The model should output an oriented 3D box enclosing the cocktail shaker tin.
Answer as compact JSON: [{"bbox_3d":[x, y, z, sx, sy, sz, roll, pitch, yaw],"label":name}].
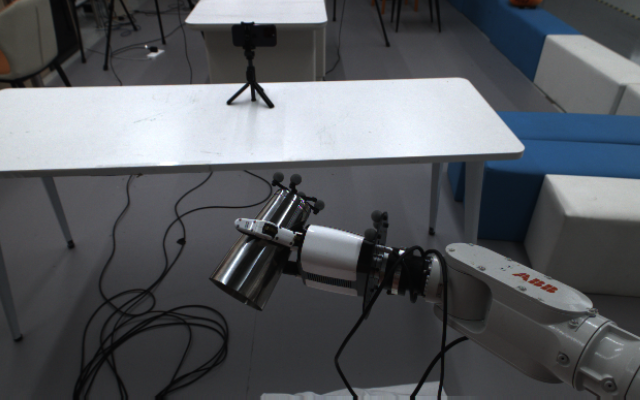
[{"bbox_3d":[-0.081,0.066,0.732,0.093,0.093,0.170,20,67,24],"label":"cocktail shaker tin"}]
